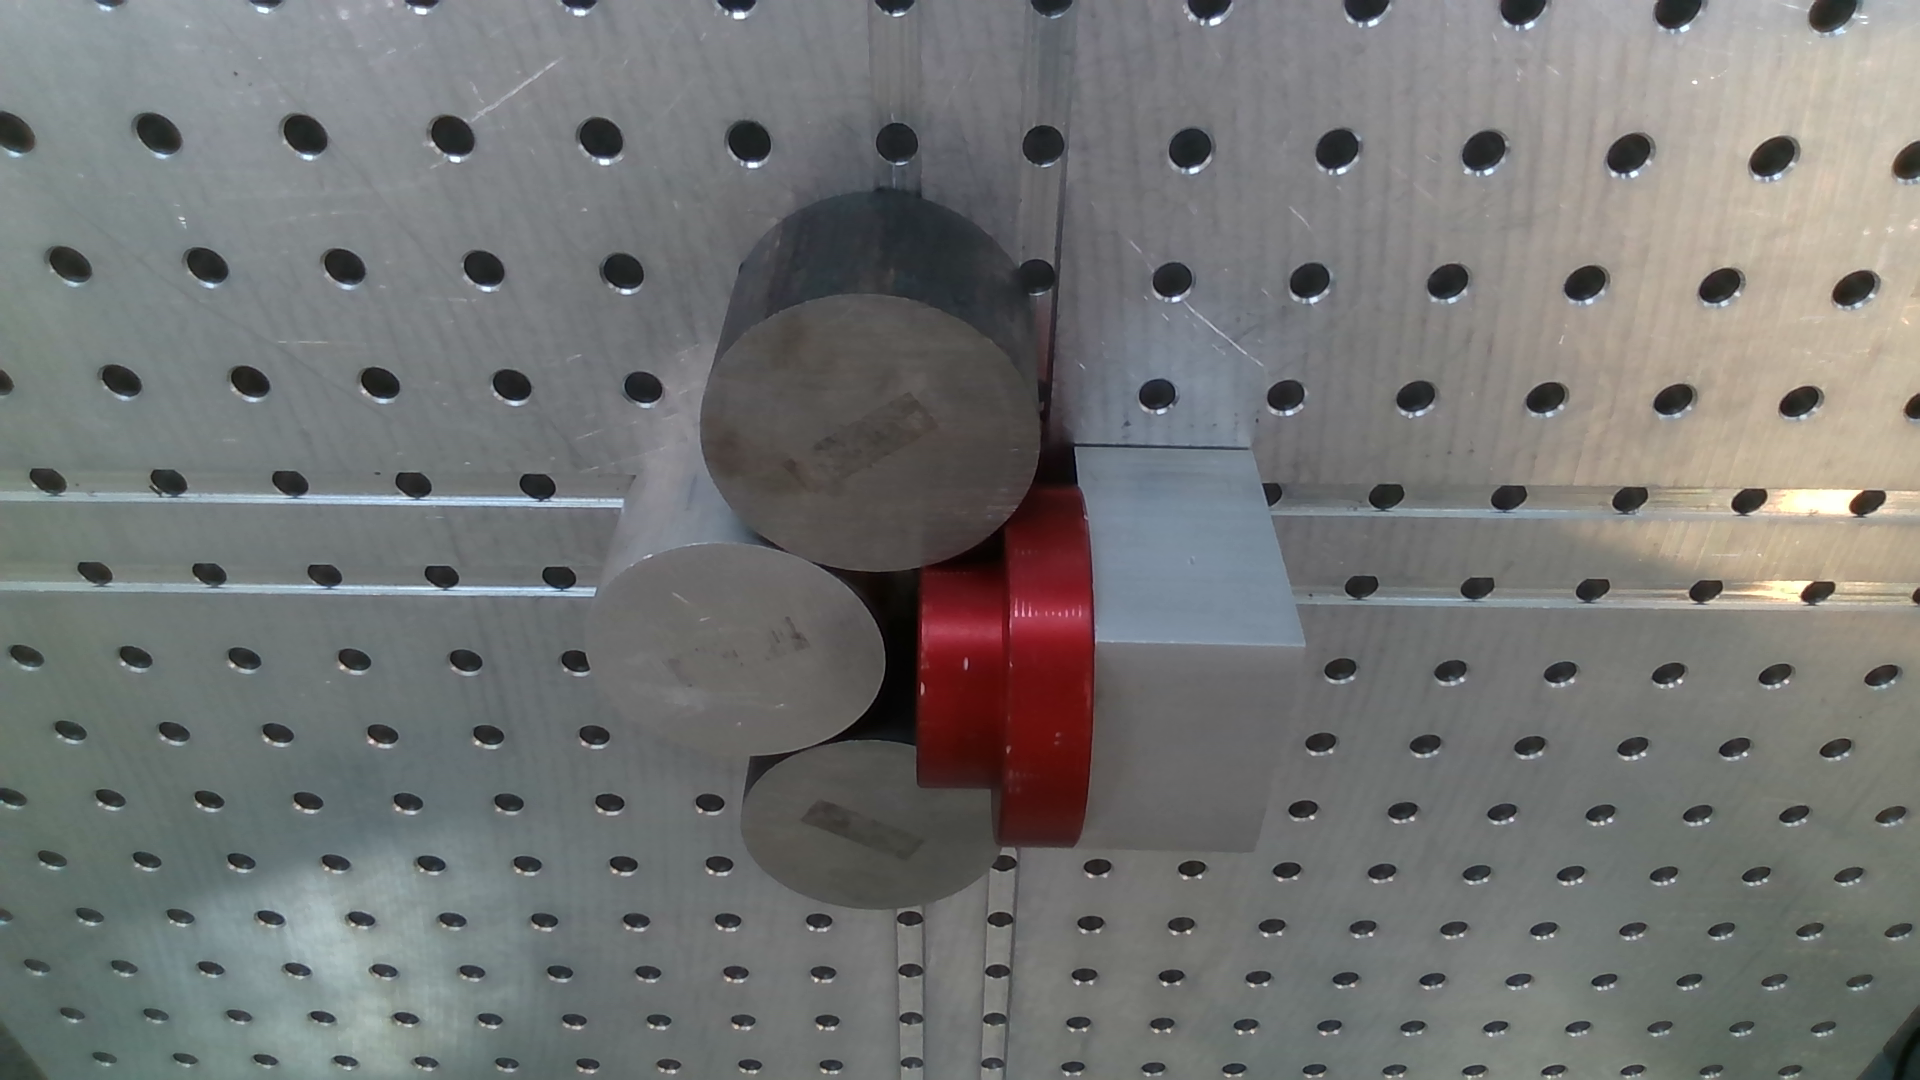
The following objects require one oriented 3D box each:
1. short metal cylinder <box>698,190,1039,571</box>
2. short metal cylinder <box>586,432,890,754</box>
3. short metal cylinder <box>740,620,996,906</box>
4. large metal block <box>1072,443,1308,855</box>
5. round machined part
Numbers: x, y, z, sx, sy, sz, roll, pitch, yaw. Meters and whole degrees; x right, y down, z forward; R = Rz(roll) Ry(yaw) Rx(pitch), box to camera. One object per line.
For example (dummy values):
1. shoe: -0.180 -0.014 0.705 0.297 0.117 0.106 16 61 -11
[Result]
1. short metal cylinder: -0.021 -0.039 0.343 0.080 0.050 0.080 0 130 0
2. short metal cylinder: -0.060 0.015 0.389 0.080 0.050 0.080 0 130 0
3. short metal cylinder: -0.026 0.071 0.436 0.080 0.050 0.080 0 130 0
4. large metal block: 0.056 0.029 0.380 0.050 0.080 0.080 1 130 0
5. round machined part: 0.009 0.034 0.370 0.042 0.098 0.098 1 130 -2
